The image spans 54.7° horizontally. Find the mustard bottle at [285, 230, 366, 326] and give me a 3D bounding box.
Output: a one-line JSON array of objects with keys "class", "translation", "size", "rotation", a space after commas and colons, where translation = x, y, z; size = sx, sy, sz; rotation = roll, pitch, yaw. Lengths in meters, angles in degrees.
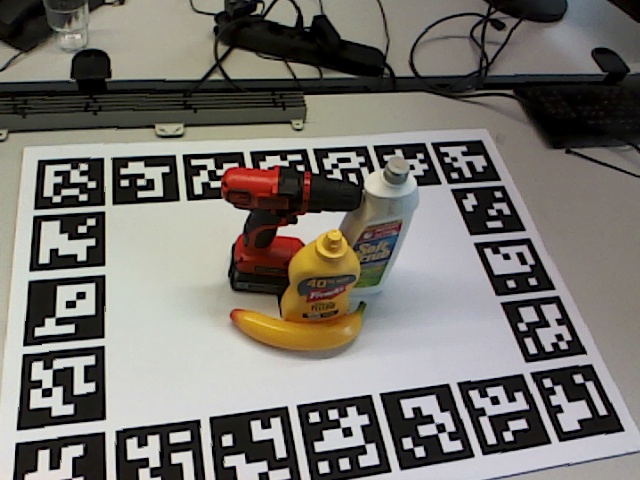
[{"class": "mustard bottle", "translation": [0.010, 0.049, 0.822], "size": [0.096, 0.191, 0.058], "rotation": [-3, 55, -13]}]

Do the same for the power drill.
[{"class": "power drill", "translation": [-0.039, -0.018, 0.837], "size": [0.184, 0.187, 0.057], "rotation": [7, 53, -6]}]

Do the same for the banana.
[{"class": "banana", "translation": [-0.016, 0.123, 0.870], "size": [0.197, 0.039, 0.074], "rotation": [-1, 56, -8]}]

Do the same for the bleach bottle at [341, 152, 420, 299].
[{"class": "bleach bottle", "translation": [0.072, -0.017, 0.850], "size": [0.102, 0.250, 0.068], "rotation": [-2, 49, -11]}]
